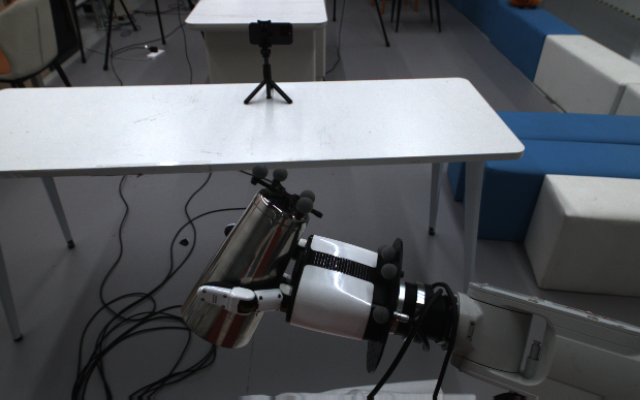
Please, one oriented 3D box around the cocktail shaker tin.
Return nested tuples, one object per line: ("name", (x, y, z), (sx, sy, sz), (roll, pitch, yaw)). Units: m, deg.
("cocktail shaker tin", (-0.080, 0.072, 0.559), (0.093, 0.170, 0.093), (28, 14, -8))
